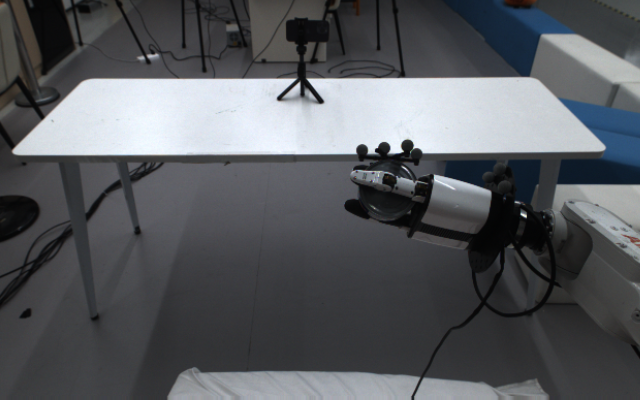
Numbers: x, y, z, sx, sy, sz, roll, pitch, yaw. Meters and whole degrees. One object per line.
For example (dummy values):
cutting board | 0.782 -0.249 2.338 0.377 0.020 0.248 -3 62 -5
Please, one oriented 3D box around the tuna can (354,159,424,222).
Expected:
tuna can | 0.097 -0.015 0.695 0.085 0.034 0.085 0 74 0
